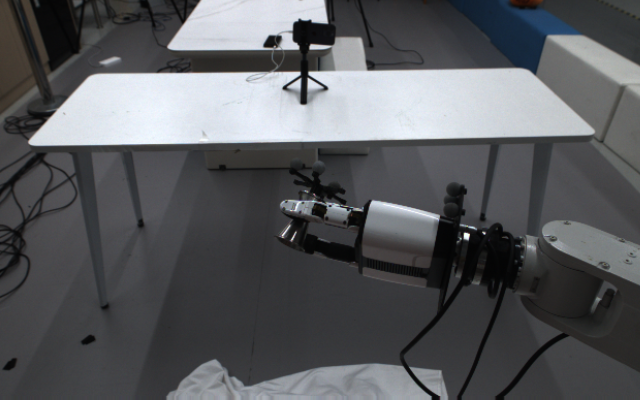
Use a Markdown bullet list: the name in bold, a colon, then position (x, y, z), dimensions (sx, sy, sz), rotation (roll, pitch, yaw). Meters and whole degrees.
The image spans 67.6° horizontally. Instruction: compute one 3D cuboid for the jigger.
- **jigger**: position (-0.025, 0.024, 0.616), dimensions (0.043, 0.043, 0.071), rotation (20, 73, 24)
